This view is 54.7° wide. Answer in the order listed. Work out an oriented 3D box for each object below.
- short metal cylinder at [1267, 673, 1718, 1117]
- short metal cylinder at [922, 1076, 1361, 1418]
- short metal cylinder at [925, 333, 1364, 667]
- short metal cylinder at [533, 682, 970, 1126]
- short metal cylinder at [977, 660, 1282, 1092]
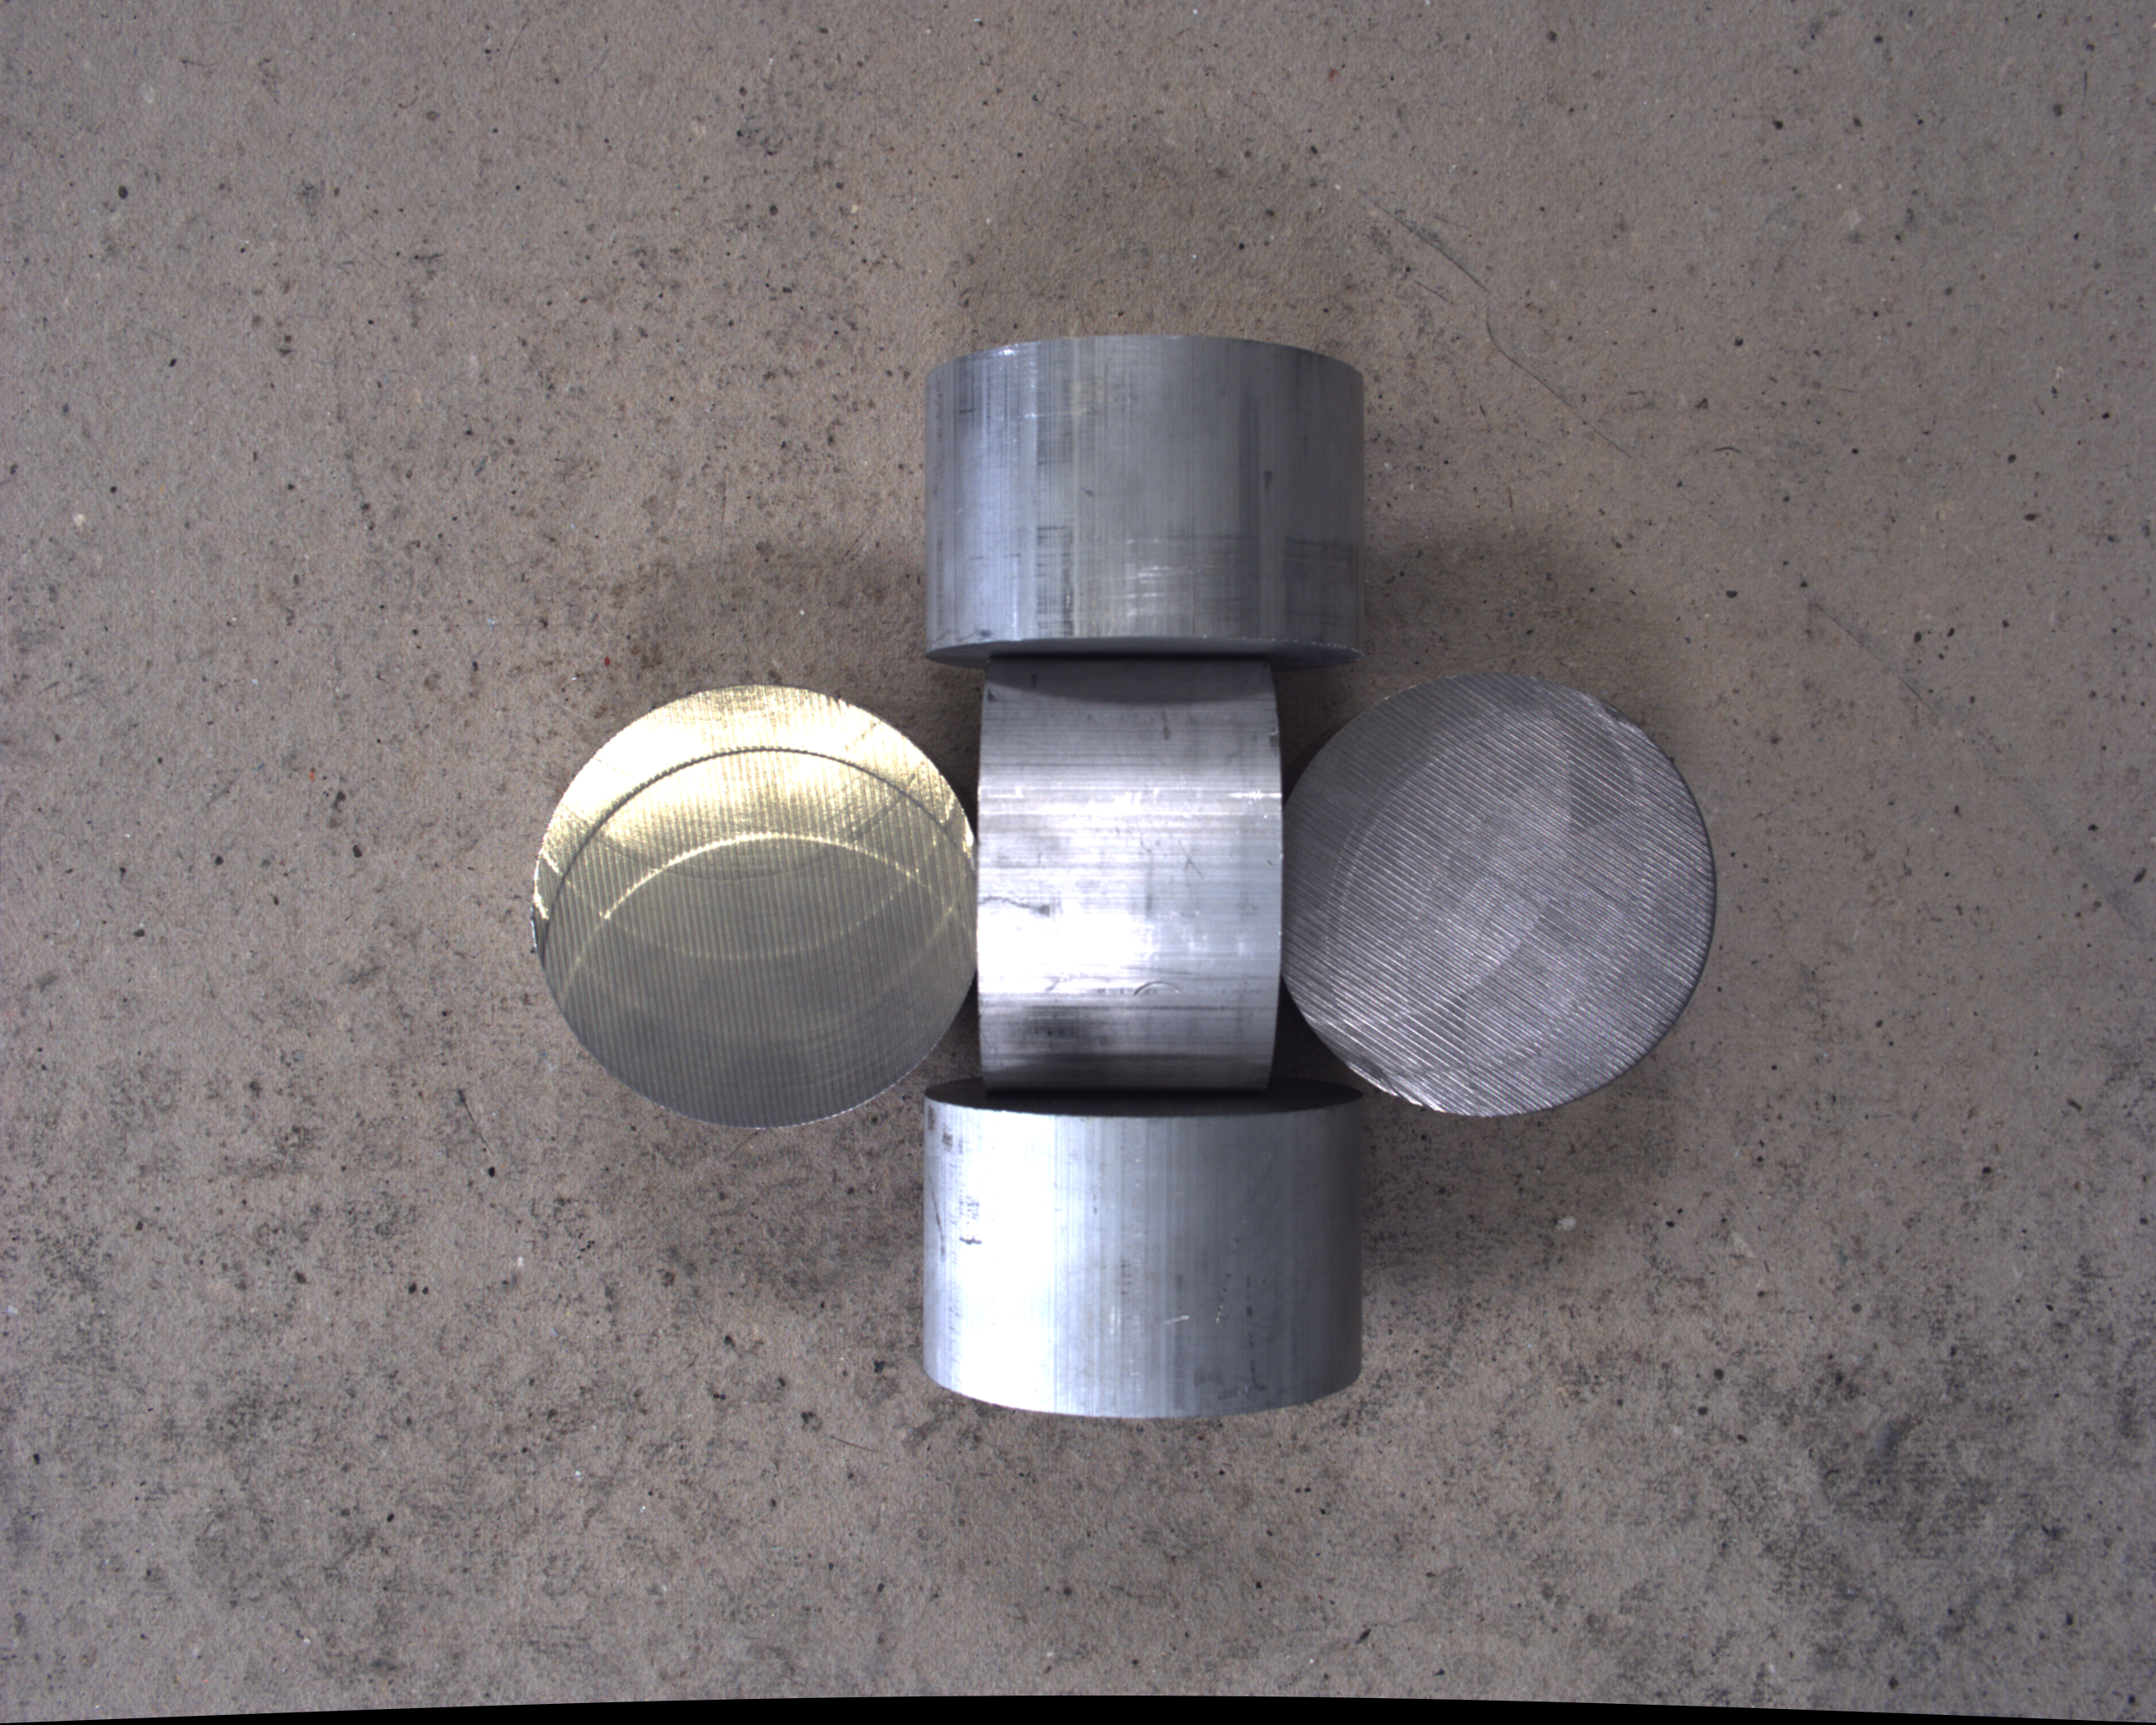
[{"bbox_3d":[0.074,0.005,0.399,0.081,0.050,0.080,0,90,0],"label":"short metal cylinder"},{"bbox_3d":[0.012,0.067,0.384,0.081,0.080,0.050,0,90,0],"label":"short metal cylinder"},{"bbox_3d":[0.012,-0.063,0.384,0.081,0.080,0.050,0,90,0],"label":"short metal cylinder"},{"bbox_3d":[-0.057,0.007,0.398,0.081,0.050,0.080,0,90,-1],"label":"short metal cylinder"},{"bbox_3d":[0.009,0.002,0.384,0.050,0.080,0.080,0,90,0],"label":"short metal cylinder"}]
